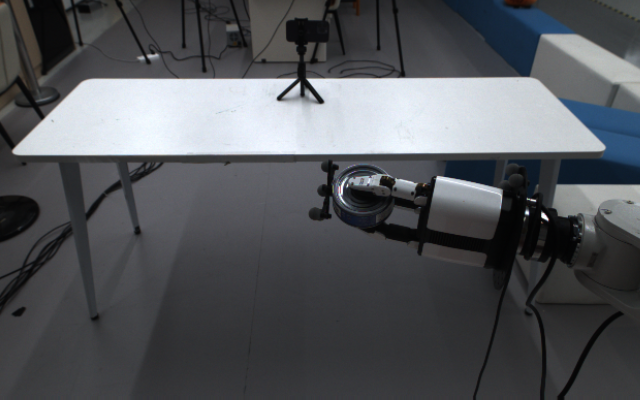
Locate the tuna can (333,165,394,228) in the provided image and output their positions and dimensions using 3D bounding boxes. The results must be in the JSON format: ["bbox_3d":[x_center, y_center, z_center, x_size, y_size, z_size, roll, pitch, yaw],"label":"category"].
[{"bbox_3d":[0.062,-0.004,0.654,0.085,0.034,0.085,-2,57,2],"label":"tuna can"}]
